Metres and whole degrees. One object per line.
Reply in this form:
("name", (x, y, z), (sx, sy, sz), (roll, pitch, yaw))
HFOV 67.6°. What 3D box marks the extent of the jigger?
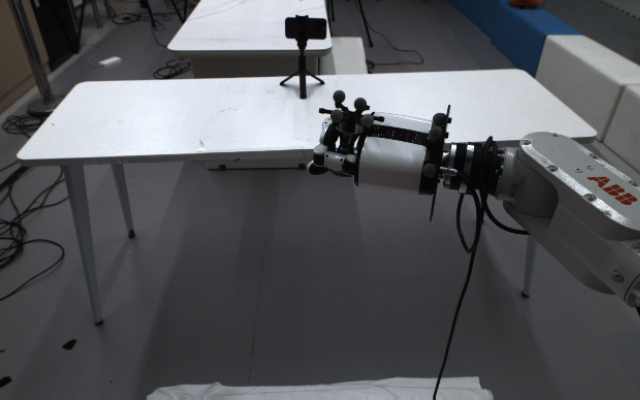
("jigger", (0.035, -0.074, 0.684), (0.043, 0.071, 0.043), (6, 32, -4))
